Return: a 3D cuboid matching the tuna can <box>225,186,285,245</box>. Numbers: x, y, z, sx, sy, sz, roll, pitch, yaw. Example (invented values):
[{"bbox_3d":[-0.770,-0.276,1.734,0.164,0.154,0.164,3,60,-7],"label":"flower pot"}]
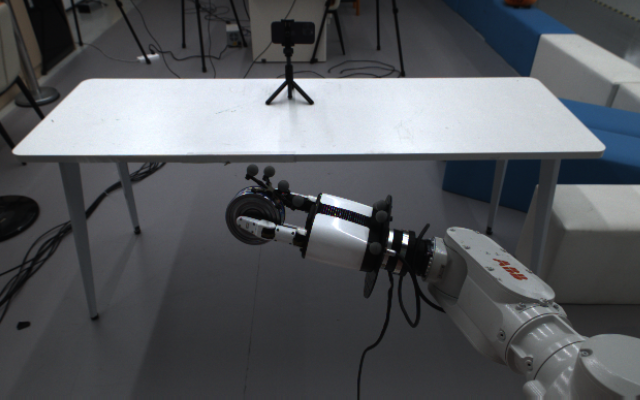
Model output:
[{"bbox_3d":[-0.094,0.031,0.722,0.085,0.085,0.034,6,19,6],"label":"tuna can"}]
